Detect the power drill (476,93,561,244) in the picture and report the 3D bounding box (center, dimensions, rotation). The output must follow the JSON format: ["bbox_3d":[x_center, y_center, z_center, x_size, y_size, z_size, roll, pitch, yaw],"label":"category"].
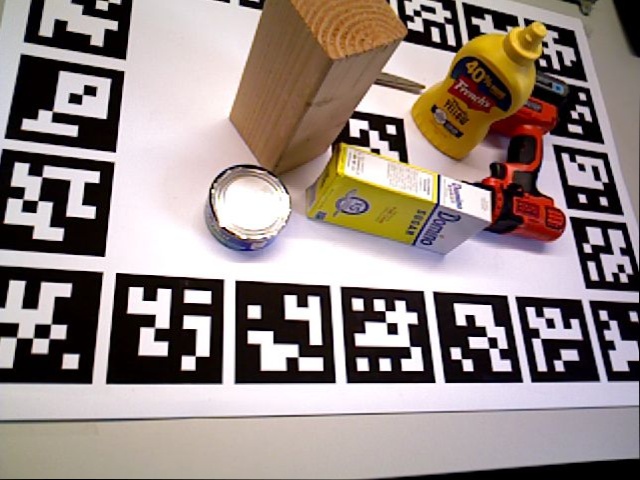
[{"bbox_3d":[0.216,-0.100,0.664,0.183,0.058,0.185,17,73,-13],"label":"power drill"}]

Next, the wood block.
[{"bbox_3d":[-0.012,-0.157,0.529,0.089,0.210,0.090,-25,81,-27],"label":"wood block"}]

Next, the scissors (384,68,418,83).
[{"bbox_3d":[0.030,-0.214,0.662,0.200,0.016,0.087,7,65,-17],"label":"scissors"}]

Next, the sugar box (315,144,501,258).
[{"bbox_3d":[0.092,-0.036,0.578,0.175,0.095,0.044,17,61,-15],"label":"sugar box"}]

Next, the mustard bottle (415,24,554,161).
[{"bbox_3d":[0.189,-0.173,0.614,0.057,0.195,0.096,-38,87,-28],"label":"mustard bottle"}]

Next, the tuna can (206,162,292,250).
[{"bbox_3d":[-0.071,-0.034,0.546,0.085,0.034,0.085,7,69,-19],"label":"tuna can"}]
